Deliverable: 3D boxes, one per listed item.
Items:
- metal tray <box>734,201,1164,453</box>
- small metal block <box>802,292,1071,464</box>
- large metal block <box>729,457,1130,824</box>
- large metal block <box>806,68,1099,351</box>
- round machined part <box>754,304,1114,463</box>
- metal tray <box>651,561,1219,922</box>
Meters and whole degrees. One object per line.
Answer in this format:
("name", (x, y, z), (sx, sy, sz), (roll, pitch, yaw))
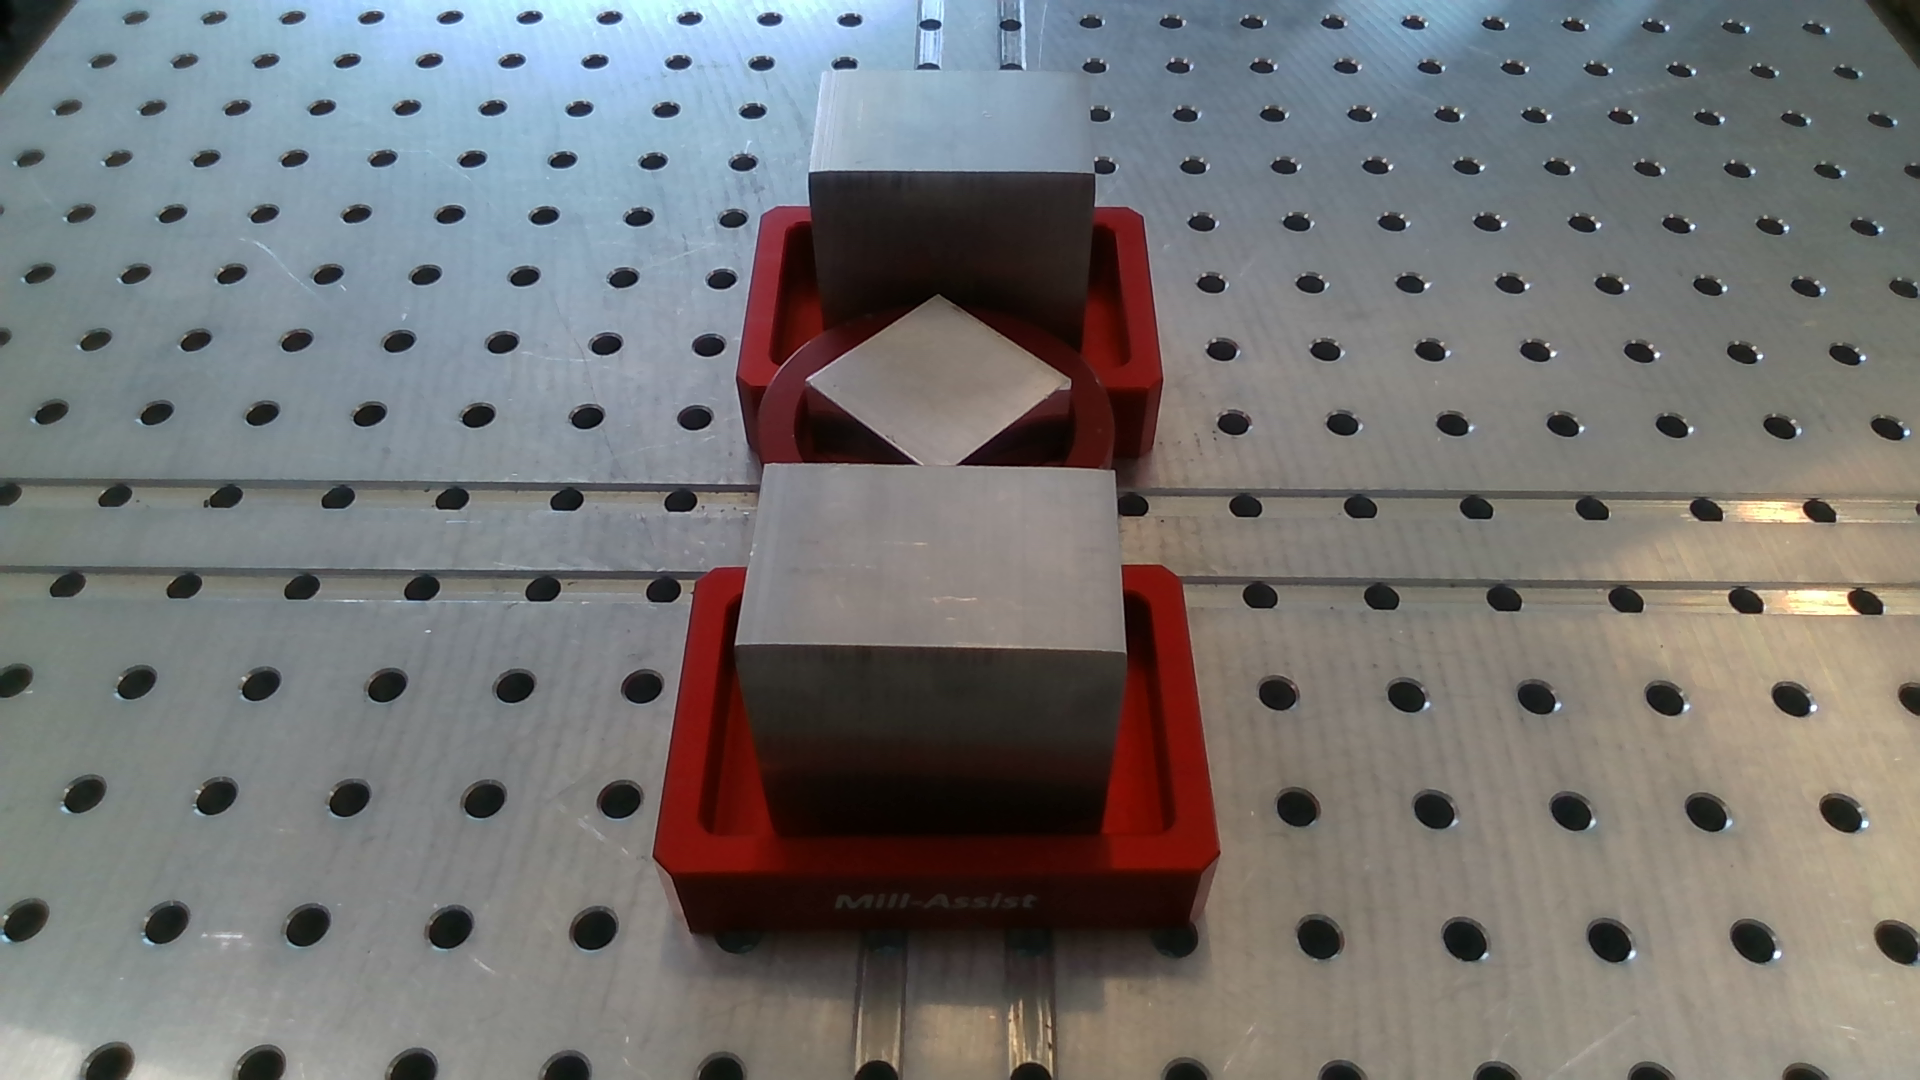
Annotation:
("metal tray", (-0.003, -0.072, 0.452), (0.130, 0.030, 0.090), (1, 50, 0))
("small metal block", (-0.006, -0.034, 0.372), (0.050, 0.025, 0.050), (37, 59, 27))
("large metal block", (-0.005, 0.027, 0.321), (0.080, 0.080, 0.050), (1, 50, 1))
("large metal block", (-0.002, -0.095, 0.423), (0.080, 0.080, 0.050), (0, 50, 0))
("round machined part", (-0.007, -0.020, 0.391), (0.098, 0.042, 0.098), (0, 50, 0))
("metal tray", (-0.006, 0.049, 0.352), (0.130, 0.030, 0.090), (0, 50, 0))
